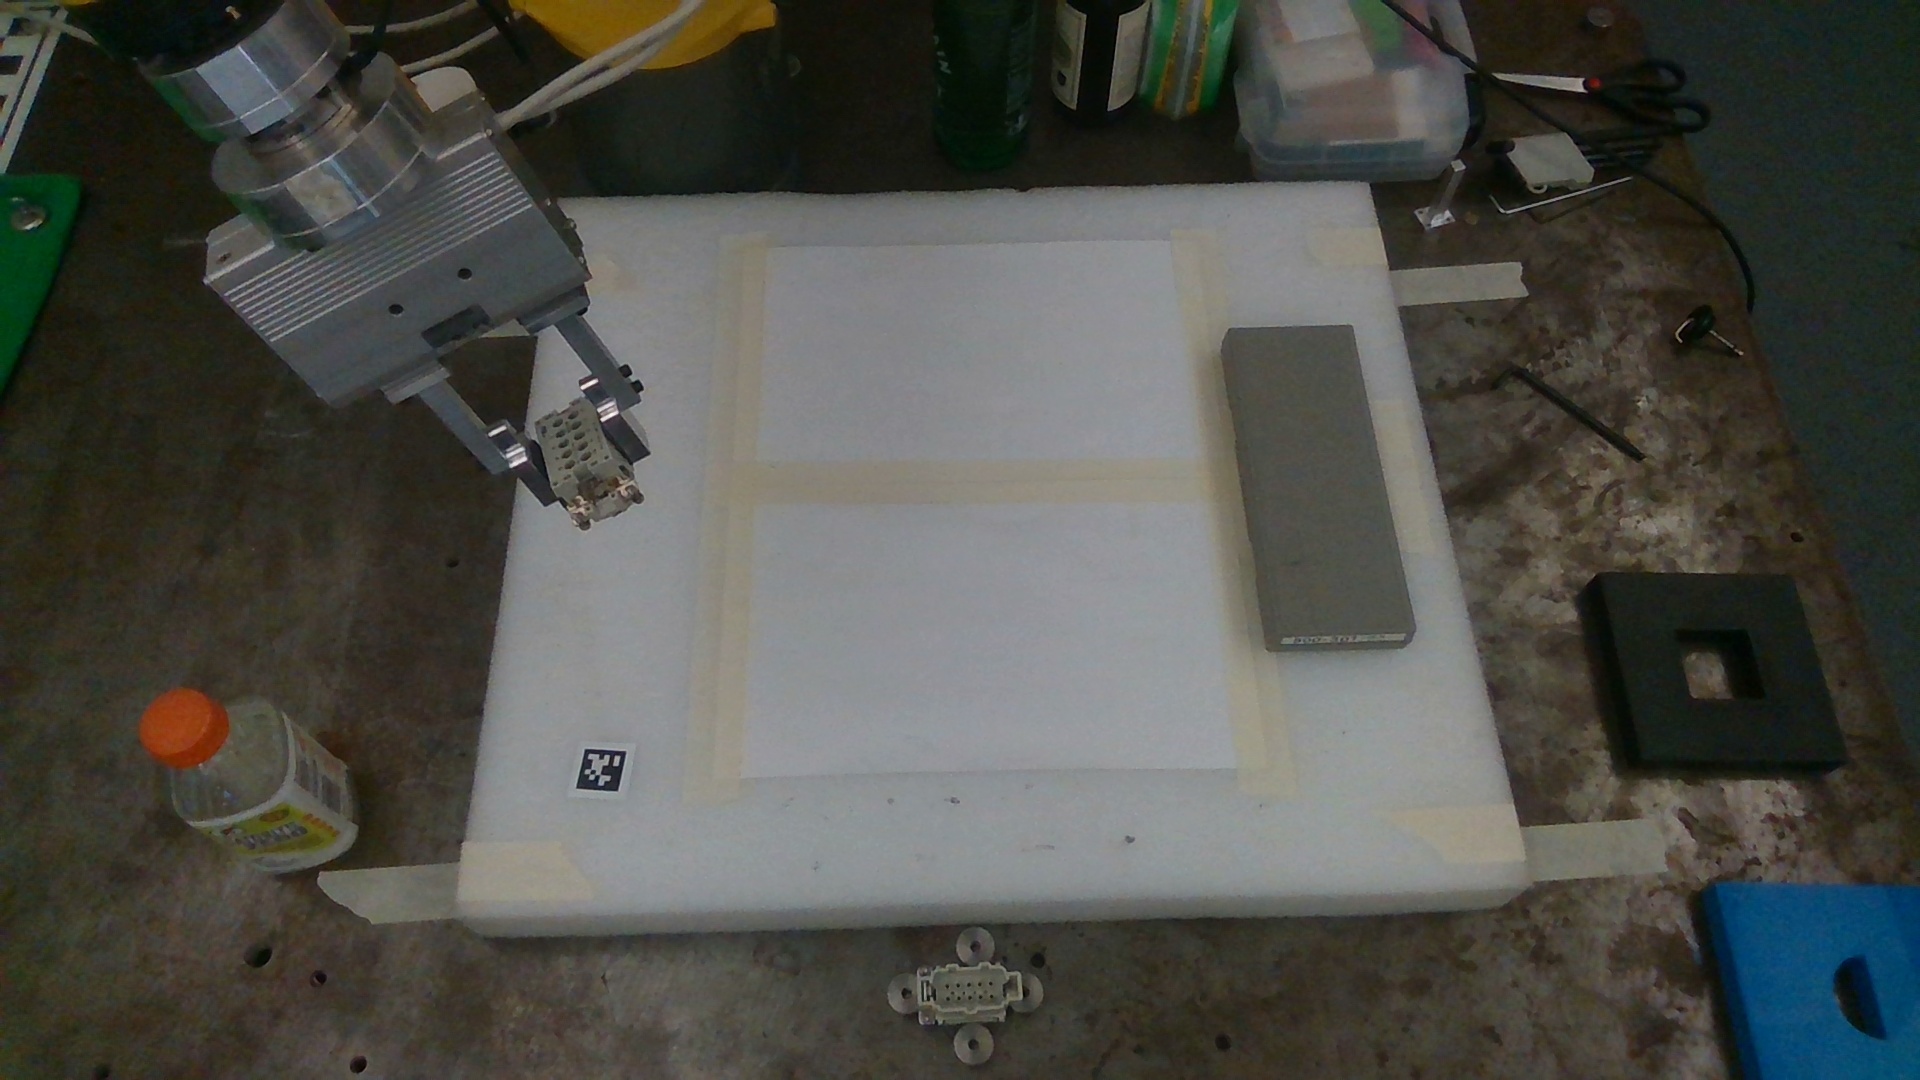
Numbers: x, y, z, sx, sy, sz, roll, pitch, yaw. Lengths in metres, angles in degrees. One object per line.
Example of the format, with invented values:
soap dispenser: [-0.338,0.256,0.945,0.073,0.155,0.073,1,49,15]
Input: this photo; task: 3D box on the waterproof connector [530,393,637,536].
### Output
waterproof connector: [-0.179,-0.038,0.664,0.037,0.038,0.069,-23,59,-1]
